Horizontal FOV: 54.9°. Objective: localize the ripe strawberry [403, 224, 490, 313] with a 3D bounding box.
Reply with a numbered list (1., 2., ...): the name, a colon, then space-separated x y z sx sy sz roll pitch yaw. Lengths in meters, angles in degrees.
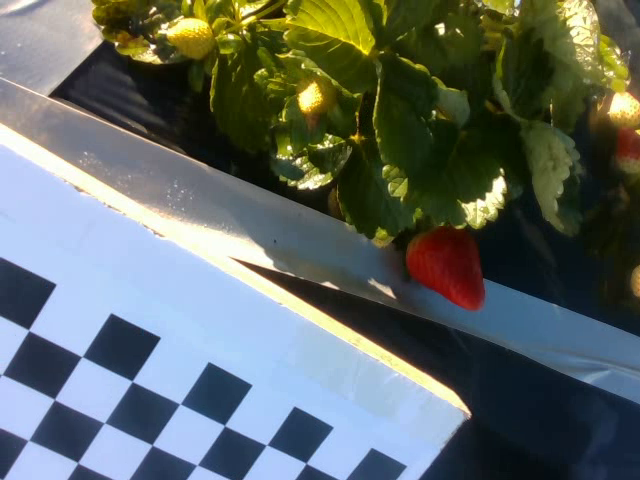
1. ripe strawberry: 0.071 0.015 0.339 0.045 0.064 0.049 -30 -39 4
